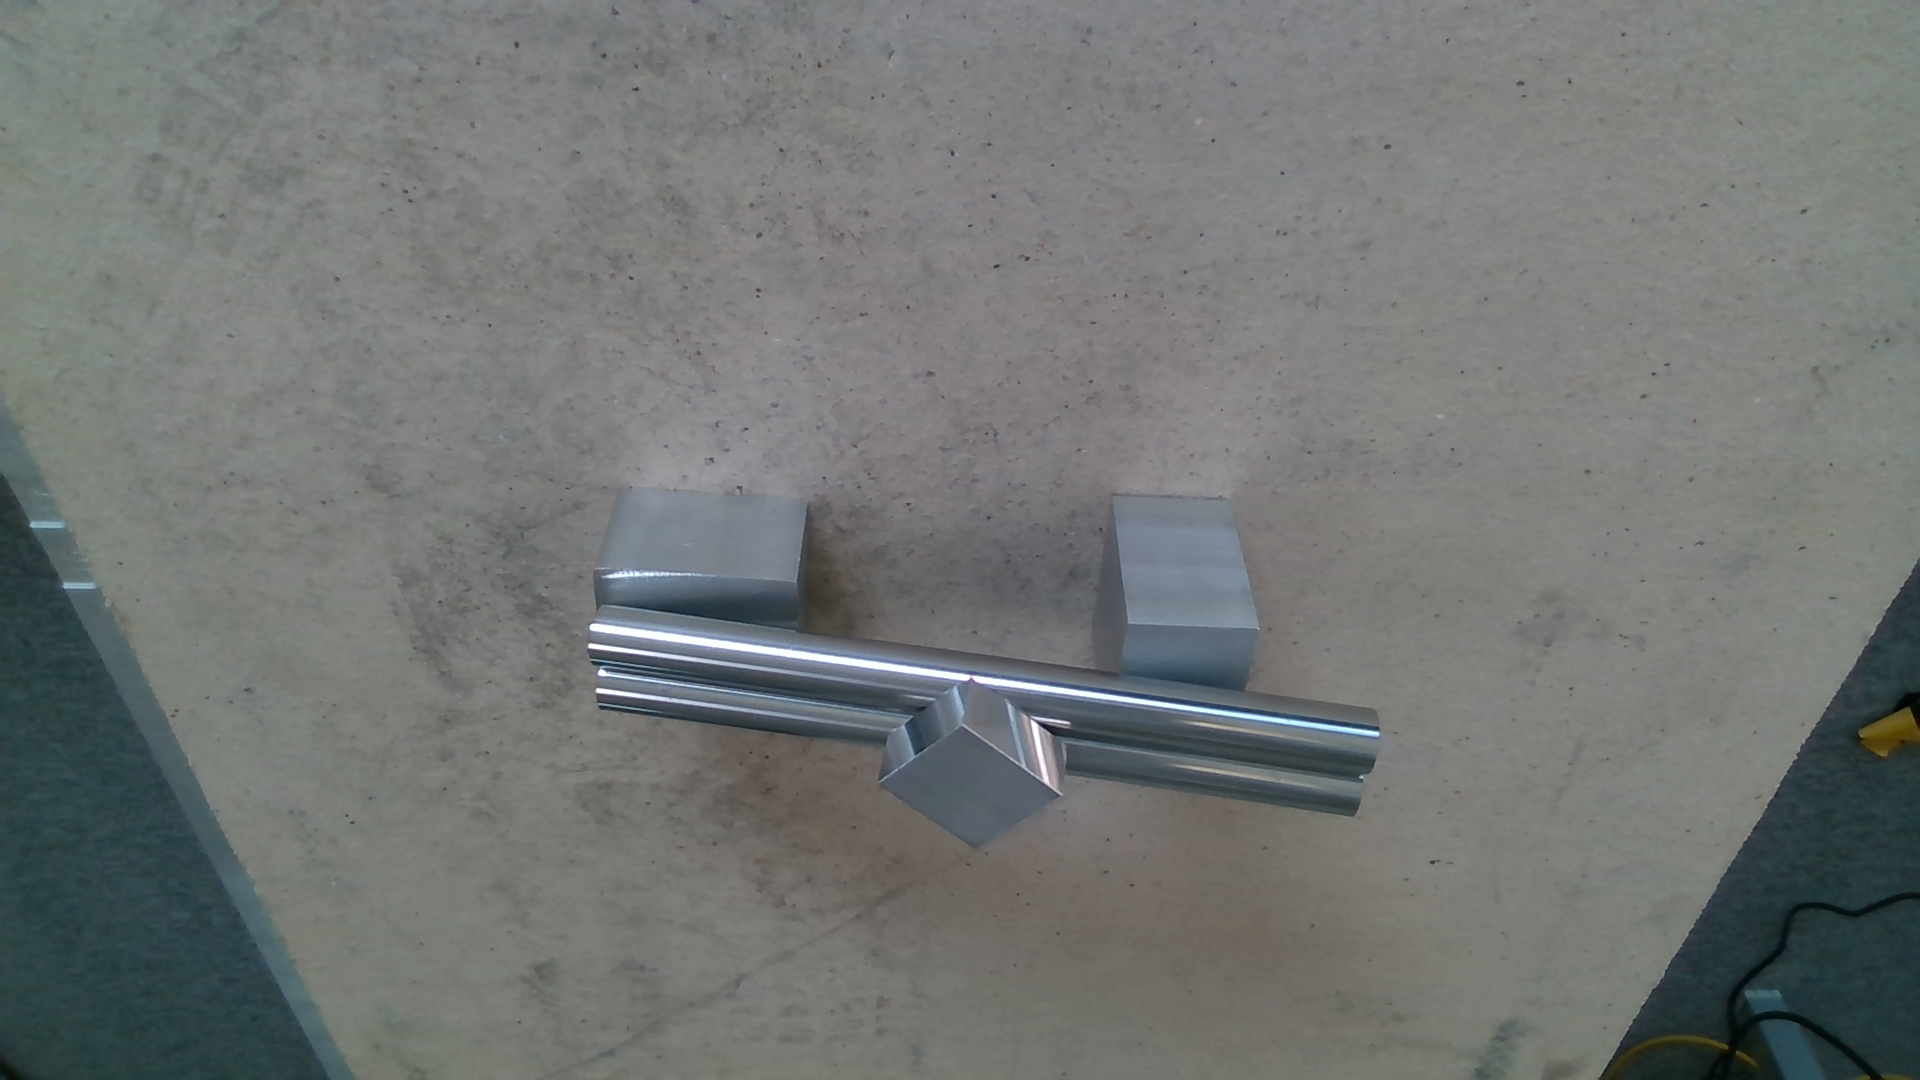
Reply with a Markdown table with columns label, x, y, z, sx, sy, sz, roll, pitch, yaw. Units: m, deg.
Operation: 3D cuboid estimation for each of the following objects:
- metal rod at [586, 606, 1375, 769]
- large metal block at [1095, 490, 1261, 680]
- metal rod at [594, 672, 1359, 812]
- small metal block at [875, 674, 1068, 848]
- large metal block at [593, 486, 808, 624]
| label | x | y | z | sx | sy | sz | roll | pitch | yaw |
| --- | --- | --- | --- | --- | --- | --- | --- | --- | --- |
| metal rod | 0.006 | 0.056 | 0.532 | 0.300 | 0.025 | 0.025 | 7 | 130 | 3 |
| large metal block | 0.087 | 0.036 | 0.575 | 0.050 | 0.080 | 0.080 | 3 | 130 | -2 |
| metal rod | 0.005 | 0.076 | 0.549 | 0.300 | 0.025 | 0.025 | 7 | 130 | 3 |
| small metal block | 0.005 | 0.085 | 0.524 | 0.050 | 0.025 | 0.050 | 37 | 126 | -20 |
| large metal block | -0.107 | 0.027 | 0.585 | 0.080 | 0.050 | 0.080 | 4 | 130 | -3 |
